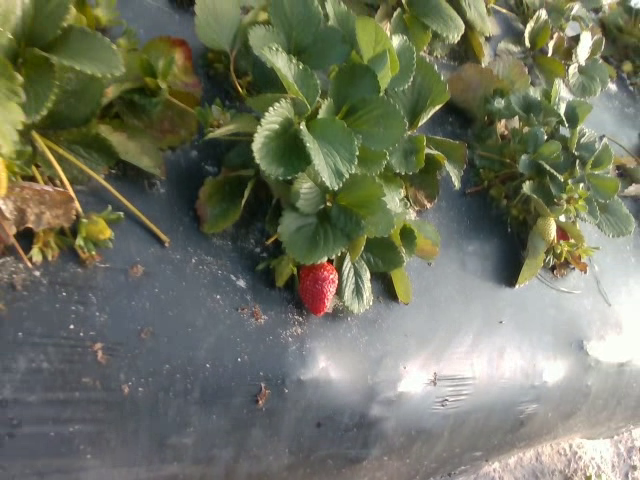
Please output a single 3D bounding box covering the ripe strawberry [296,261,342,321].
[{"bbox_3d":[-0.001,0.028,0.349,0.029,0.036,0.021,5,-19,-25],"label":"ripe strawberry"}]
